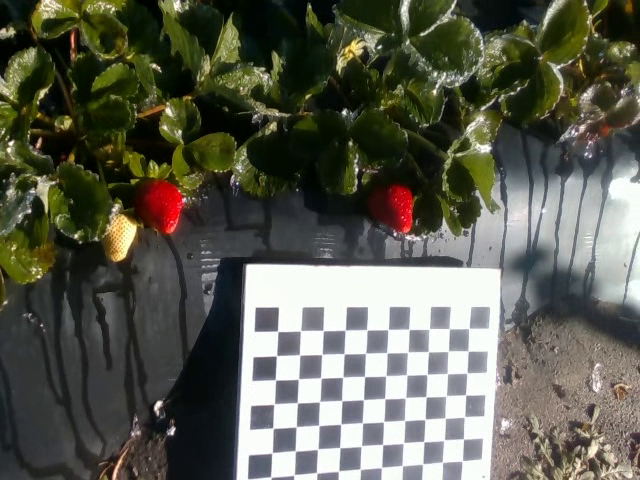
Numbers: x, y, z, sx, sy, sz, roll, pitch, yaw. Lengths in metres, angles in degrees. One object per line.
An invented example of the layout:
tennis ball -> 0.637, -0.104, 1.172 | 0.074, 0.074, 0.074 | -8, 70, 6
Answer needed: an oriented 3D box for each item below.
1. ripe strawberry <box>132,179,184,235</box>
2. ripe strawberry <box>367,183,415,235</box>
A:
ripe strawberry -> -0.139, -0.023, 0.581 | 0.042, 0.061, 0.046 | -13, -34, -17
ripe strawberry -> 0.079, -0.029, 0.648 | 0.048, 0.061, 0.044 | -5, -27, -18
